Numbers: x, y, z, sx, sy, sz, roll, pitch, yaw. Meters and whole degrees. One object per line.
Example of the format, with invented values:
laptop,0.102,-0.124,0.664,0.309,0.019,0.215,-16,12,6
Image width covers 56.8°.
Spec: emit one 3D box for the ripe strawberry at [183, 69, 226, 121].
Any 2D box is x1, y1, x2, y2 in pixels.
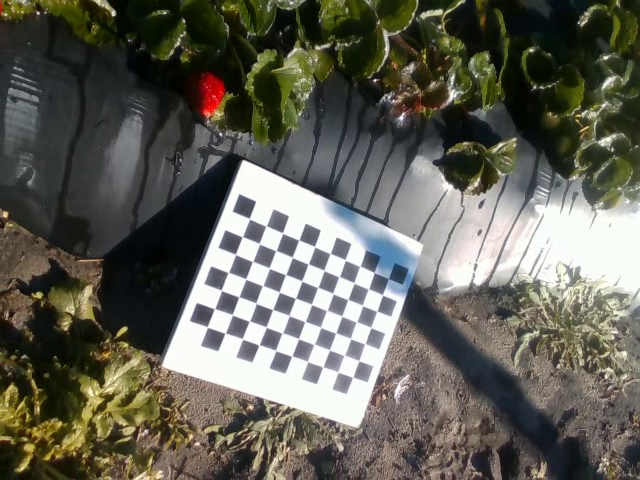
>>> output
ripe strawberry,-0.109,-0.138,0.561,0.041,0.053,0.047,16,-43,-22
